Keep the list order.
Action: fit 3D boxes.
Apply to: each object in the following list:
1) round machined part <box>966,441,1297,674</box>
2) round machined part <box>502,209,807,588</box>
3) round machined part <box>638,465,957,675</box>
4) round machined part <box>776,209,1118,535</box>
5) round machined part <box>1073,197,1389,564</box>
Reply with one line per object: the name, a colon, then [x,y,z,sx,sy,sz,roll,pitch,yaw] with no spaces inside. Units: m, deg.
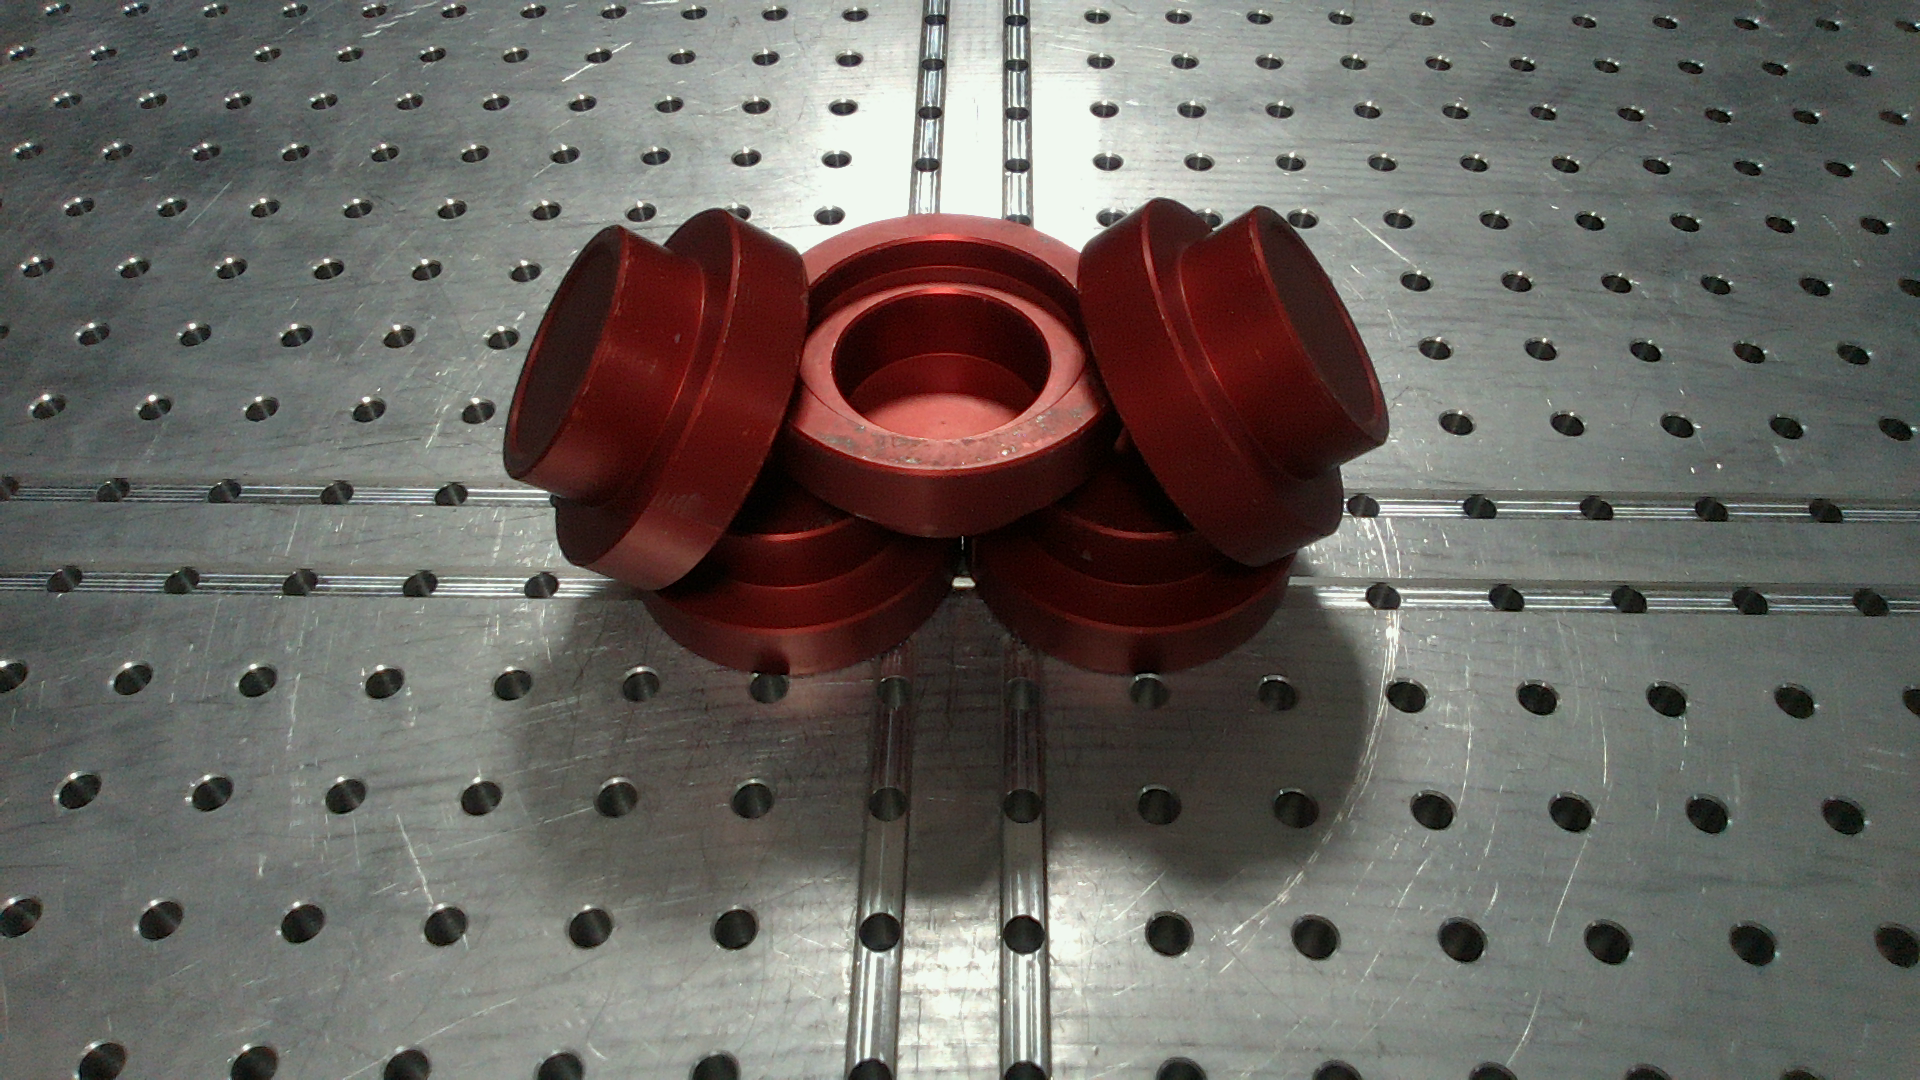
round machined part: [0.049,-0.014,0.394,0.098,0.042,0.098,0,50,0]
round machined part: [-0.082,-0.040,0.350,0.042,0.098,0.098,23,42,-31]
round machined part: [-0.048,-0.013,0.394,0.098,0.042,0.098,0,50,0]
round machined part: [-0.005,-0.040,0.361,0.098,0.042,0.098,0,50,0]
round machined part: [0.075,-0.047,0.356,0.042,0.098,0.098,-29,42,30]
